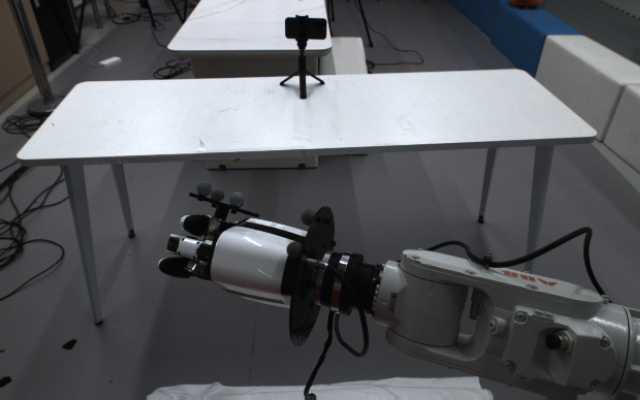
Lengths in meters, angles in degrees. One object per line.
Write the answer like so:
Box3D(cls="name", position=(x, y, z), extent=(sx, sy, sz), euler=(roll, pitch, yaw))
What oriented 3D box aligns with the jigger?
Box3D(cls="jigger", position=(-0.130, 0.054, 0.577), extent=(0.043, 0.071, 0.043), euler=(19, -6, 2))
